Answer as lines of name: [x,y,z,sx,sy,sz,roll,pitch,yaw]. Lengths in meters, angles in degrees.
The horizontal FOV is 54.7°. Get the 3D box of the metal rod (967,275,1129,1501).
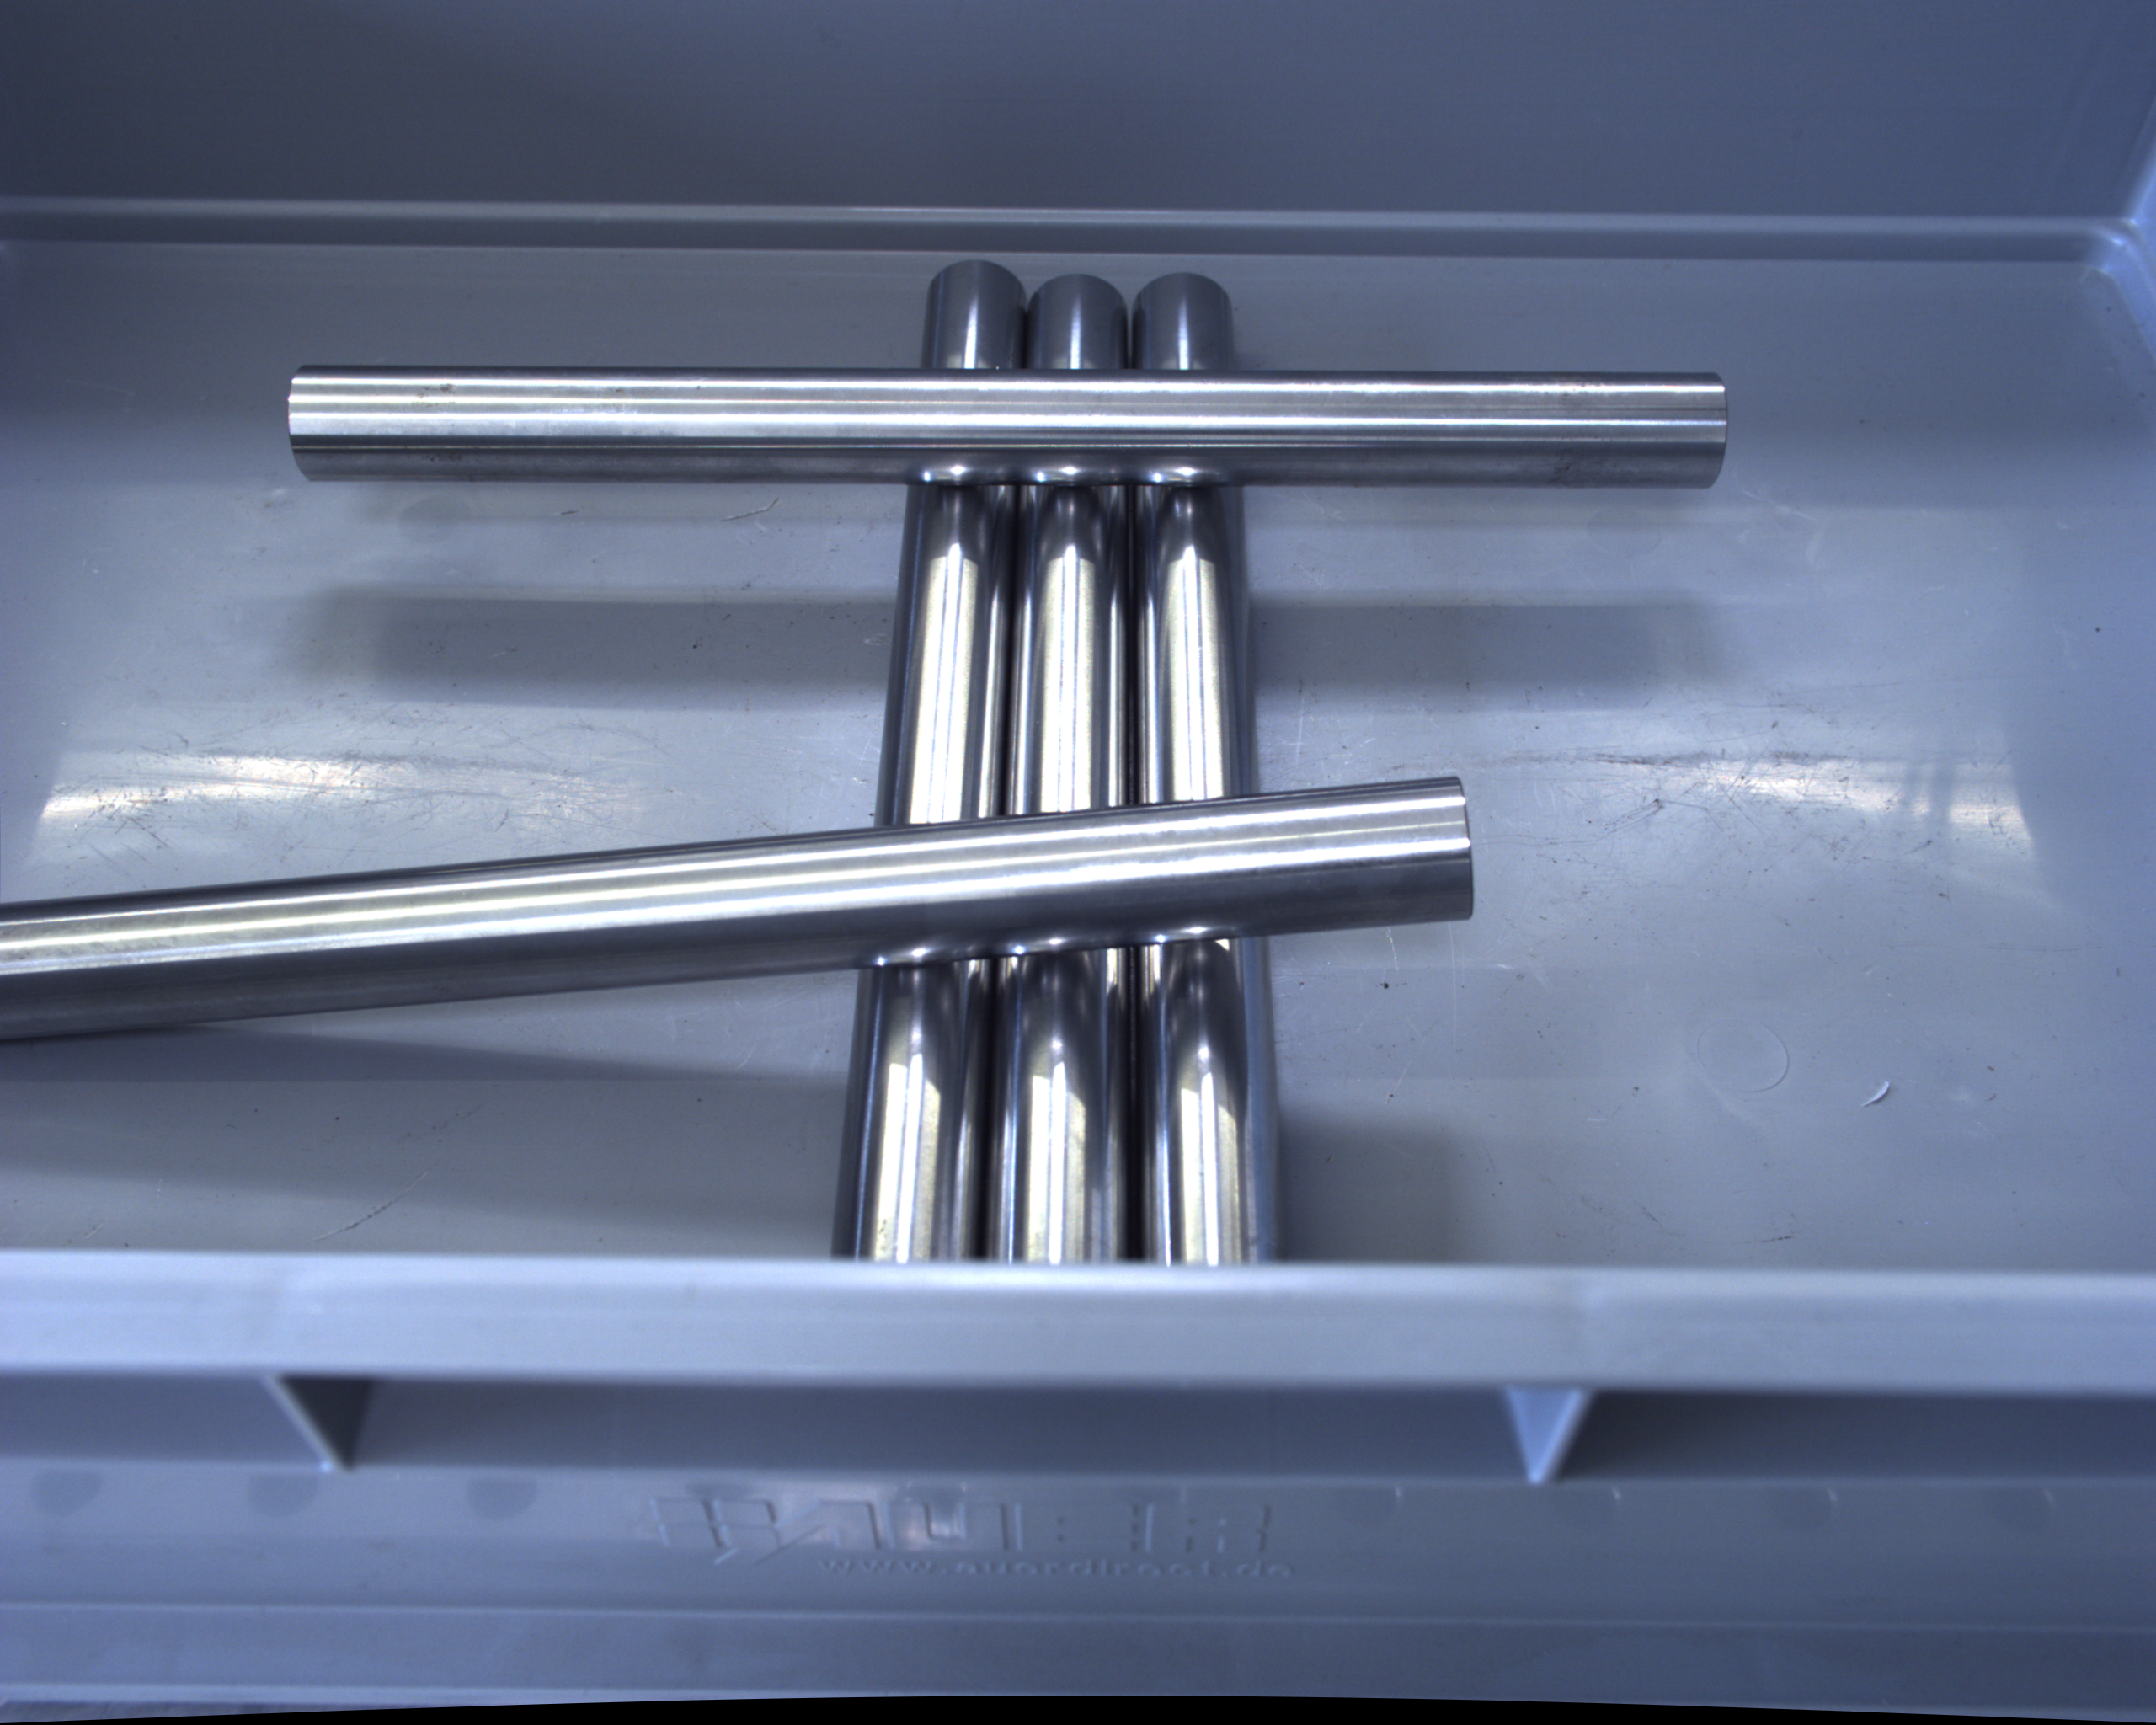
metal rod: [-0.002,-0.020,0.421,0.025,0.025,0.300,1,50,1]

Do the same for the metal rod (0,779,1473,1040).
metal rod: [-0.083,0.011,0.370,0.302,0.025,0.025,-5,50,5]

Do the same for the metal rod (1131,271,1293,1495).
metal rod: [0.023,-0.021,0.421,0.025,0.025,0.300,1,50,1]

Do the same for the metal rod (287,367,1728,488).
metal rod: [-0.015,-0.094,0.449,0.302,0.025,0.025,0,50,0]

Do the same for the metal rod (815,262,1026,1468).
metal rod: [-0.027,-0.025,0.425,0.025,0.025,0.300,1,50,0]
